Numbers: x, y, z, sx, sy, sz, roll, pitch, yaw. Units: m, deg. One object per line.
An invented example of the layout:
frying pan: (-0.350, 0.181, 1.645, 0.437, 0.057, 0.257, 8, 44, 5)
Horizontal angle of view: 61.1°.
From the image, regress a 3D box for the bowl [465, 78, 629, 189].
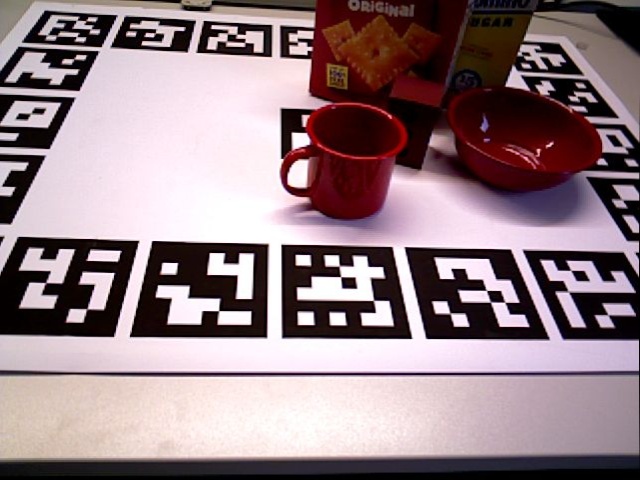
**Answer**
bowl: (0.221, -0.102, 0.558, 0.160, 0.056, 0.159, 3, 46, -4)

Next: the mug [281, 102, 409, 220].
mug: (0.022, -0.072, 0.495, 0.116, 0.083, 0.092, -5, 38, -10)

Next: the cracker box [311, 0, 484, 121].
cracker box: (0.085, -0.249, 0.590, 0.164, 0.219, 0.070, 24, 45, 15)

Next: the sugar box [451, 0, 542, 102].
sugar box: (0.193, -0.241, 0.620, 0.093, 0.180, 0.044, 17, 45, 10)

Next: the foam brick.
foam brick: (0.098, -0.126, 0.573, 0.052, 0.080, 0.050, 13, 44, 6)
